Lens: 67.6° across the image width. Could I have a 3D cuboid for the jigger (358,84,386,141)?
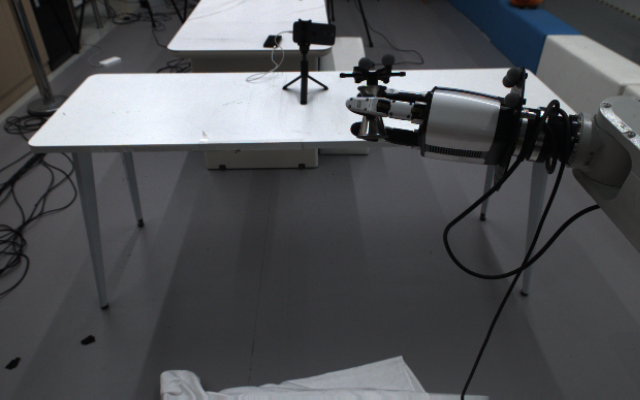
[{"bbox_3d":[0.071,-0.120,0.665,0.043,0.071,0.043,-1,2,0],"label":"jigger"}]
